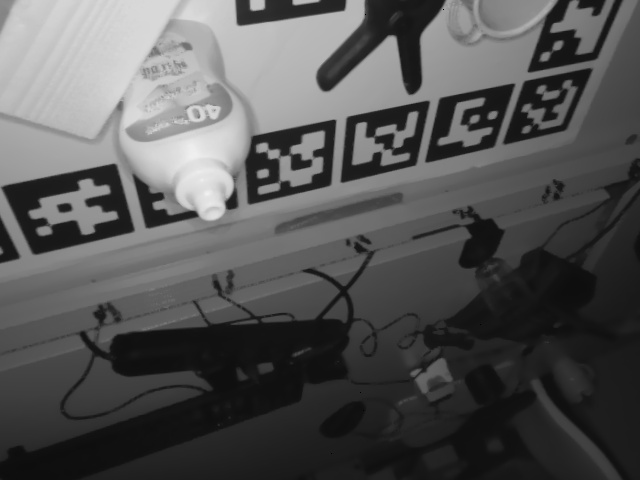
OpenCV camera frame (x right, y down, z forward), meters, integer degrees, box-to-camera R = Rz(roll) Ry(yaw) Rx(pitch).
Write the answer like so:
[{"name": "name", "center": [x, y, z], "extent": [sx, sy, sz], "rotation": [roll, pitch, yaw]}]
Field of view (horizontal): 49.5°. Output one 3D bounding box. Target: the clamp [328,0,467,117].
[{"name": "clamp", "center": [0.088, -0.191, 0.653], "extent": [0.123, 0.036, 0.162], "rotation": [2, 133, -30]}]

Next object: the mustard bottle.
[{"name": "mustard bottle", "center": [-0.085, -0.084, 0.540], "extent": [0.097, 0.191, 0.058], "rotation": [-16, 142, -13]}]

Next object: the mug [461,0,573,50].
[{"name": "mug", "center": [0.169, -0.231, 0.646], "extent": [0.095, 0.081, 0.115], "rotation": [4, 133, -33]}]

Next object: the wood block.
[{"name": "wood block", "center": [-0.136, -0.182, 0.484], "extent": [0.091, 0.091, 0.203], "rotation": [17, 128, -45]}]
